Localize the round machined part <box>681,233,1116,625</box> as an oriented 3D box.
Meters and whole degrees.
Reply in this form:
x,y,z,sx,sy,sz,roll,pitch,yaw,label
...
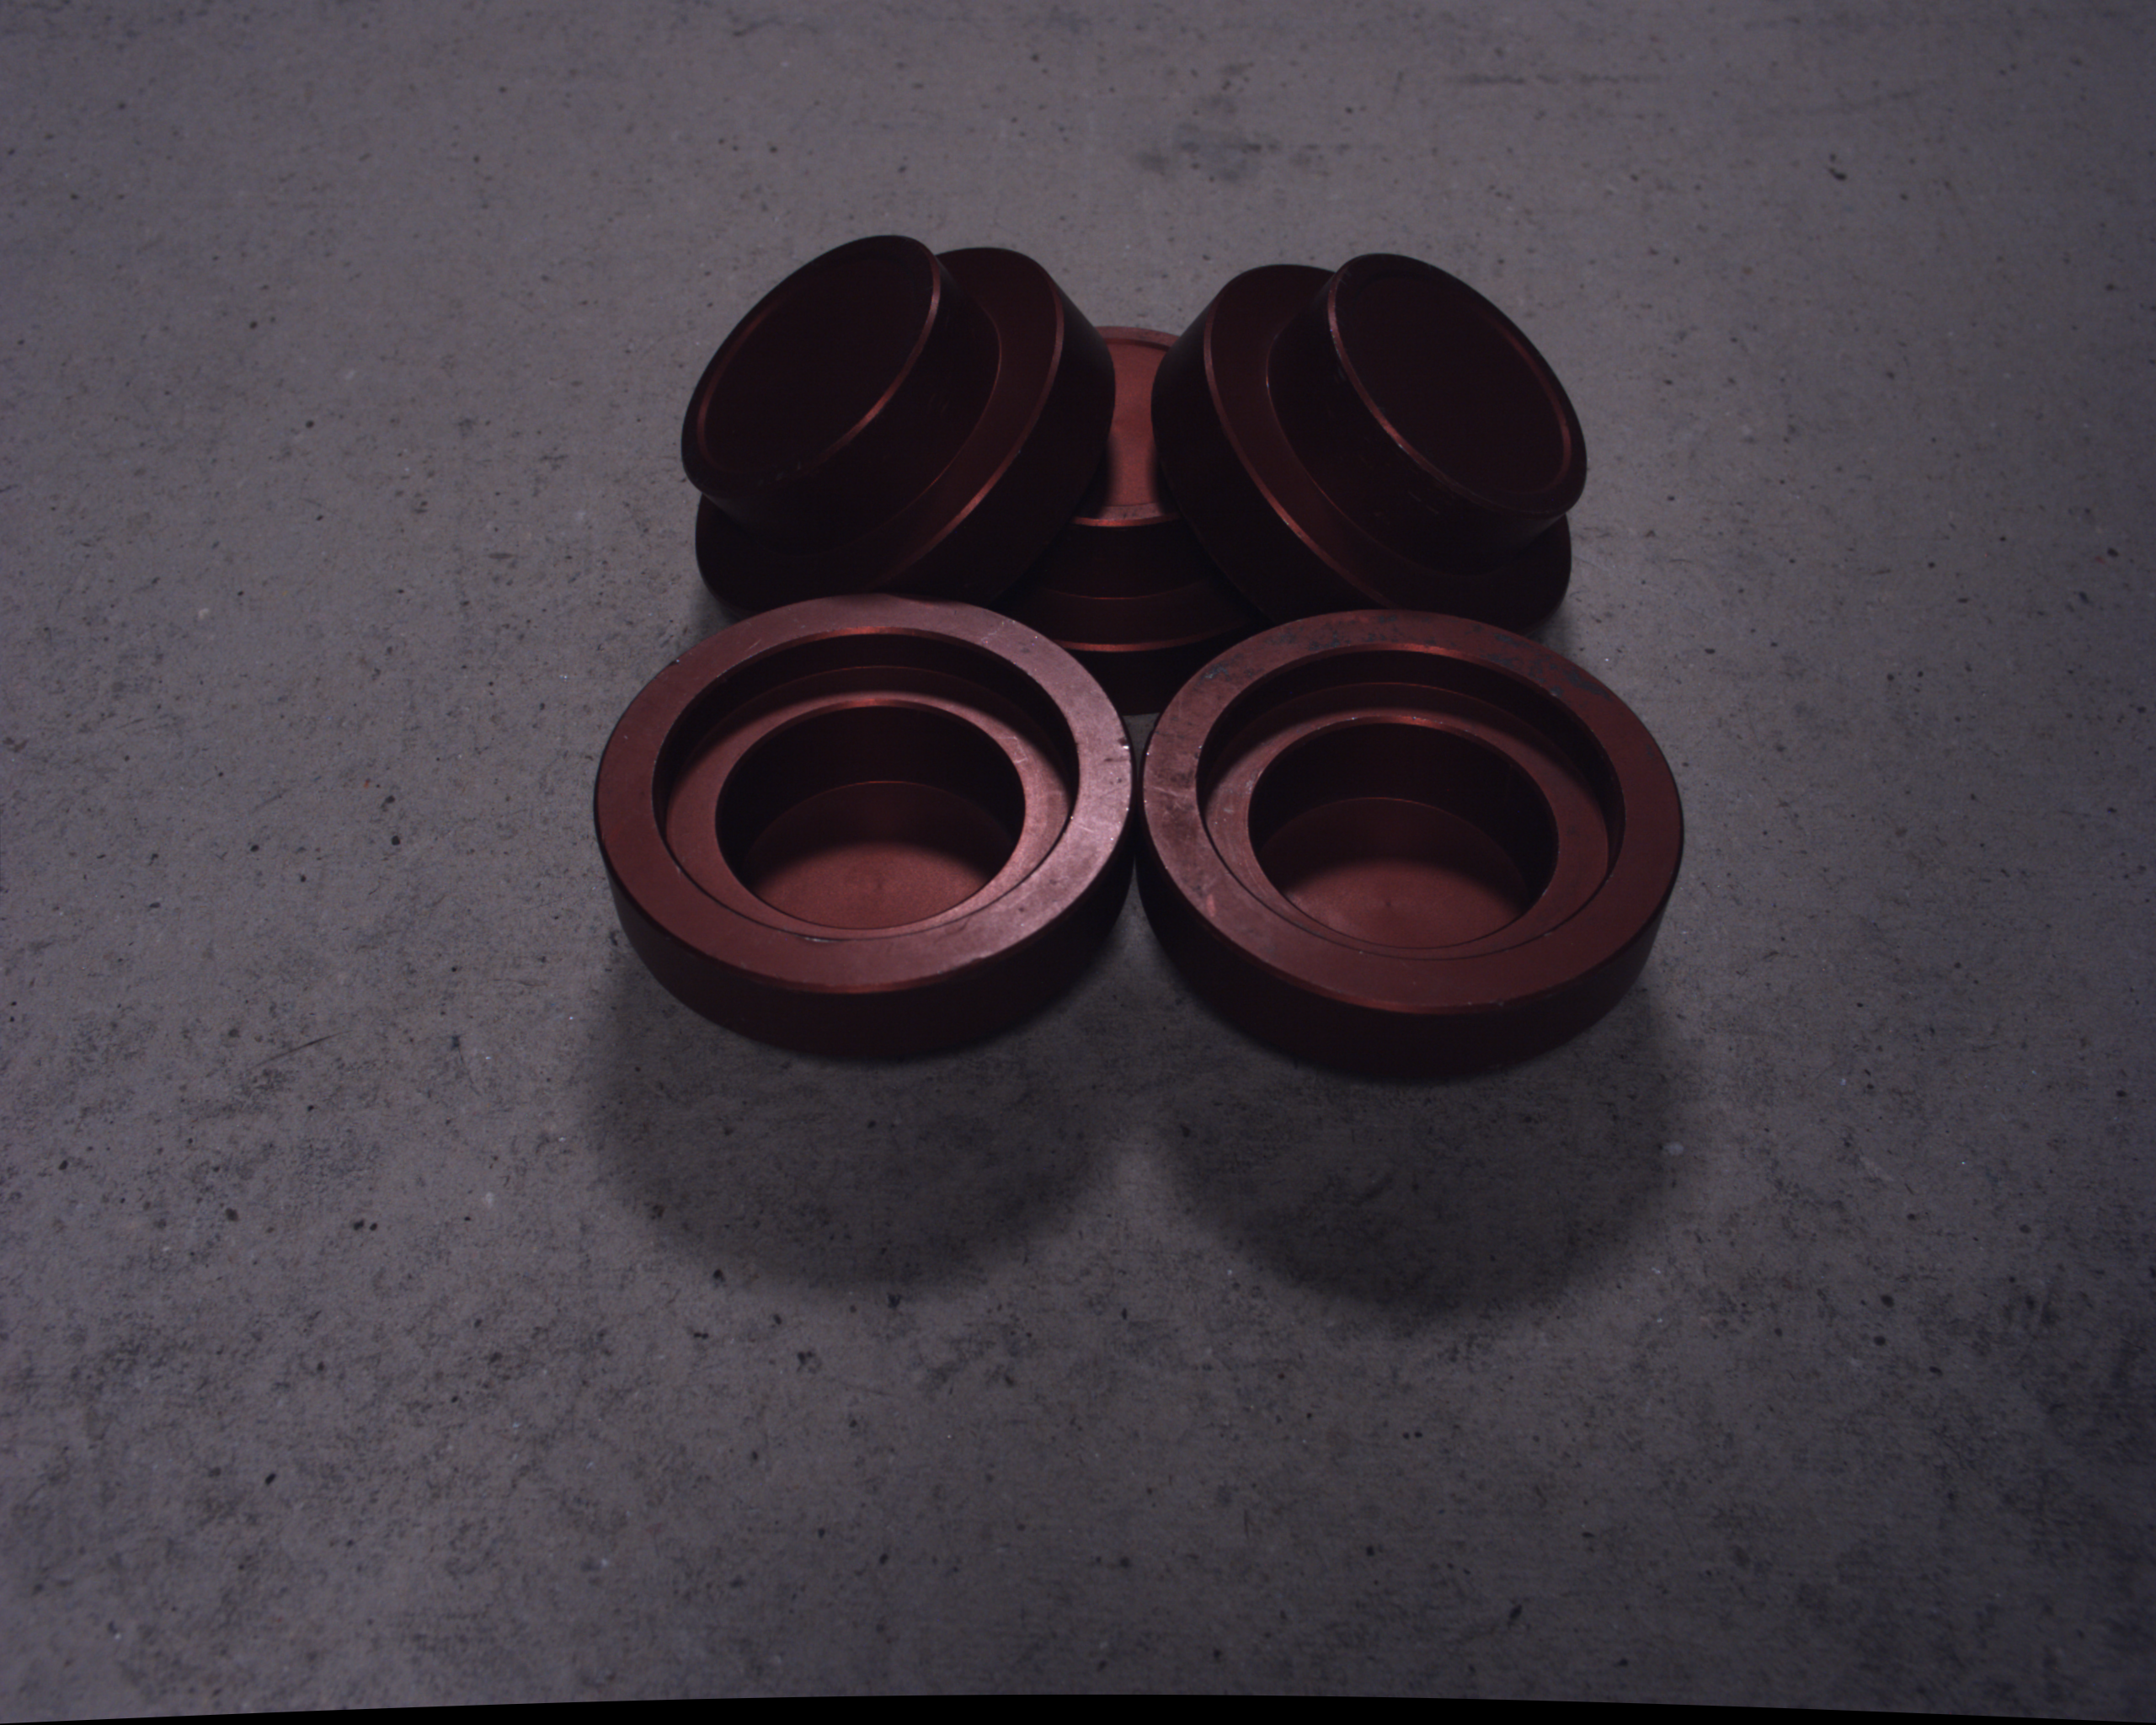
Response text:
x,y,z,sx,sy,sz,roll,pitch,yaw,label
-0.044,-0.093,0.440,0.098,0.042,0.098,-21,49,26,round machined part

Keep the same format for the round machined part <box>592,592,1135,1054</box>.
x,y,z,sx,sy,sz,roll,pitch,yaw,label
-0.039,-0.003,0.396,0.099,0.042,0.098,0,50,0,round machined part

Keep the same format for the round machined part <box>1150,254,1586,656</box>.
x,y,z,sx,sy,sz,roll,pitch,yaw,label
0.068,-0.089,0.441,0.099,0.042,0.098,19,52,-25,round machined part

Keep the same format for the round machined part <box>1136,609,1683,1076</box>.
x,y,z,sx,sy,sz,roll,pitch,yaw,label
0.060,0.000,0.394,0.099,0.042,0.098,0,50,0,round machined part

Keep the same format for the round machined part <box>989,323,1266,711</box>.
x,y,z,sx,sy,sz,roll,pitch,yaw,label
0.007,-0.082,0.462,0.099,0.042,0.098,0,50,0,round machined part
